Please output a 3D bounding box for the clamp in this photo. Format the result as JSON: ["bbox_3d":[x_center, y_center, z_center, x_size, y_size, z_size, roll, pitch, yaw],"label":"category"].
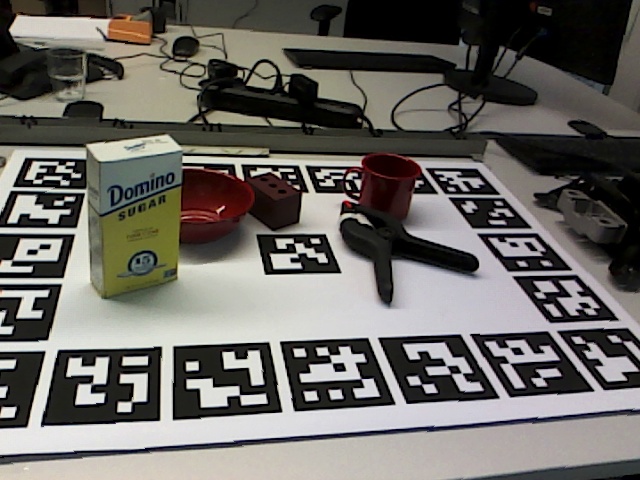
[{"bbox_3d":[0.085,-0.003,0.864,0.164,0.036,0.204,-18,42,-31],"label":"clamp"}]

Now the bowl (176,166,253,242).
[{"bbox_3d":[-0.177,-0.044,0.864,0.161,0.055,0.162,6,33,-5],"label":"bowl"}]

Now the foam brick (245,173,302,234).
[{"bbox_3d":[-0.070,-0.055,0.918,0.052,0.051,0.078,-20,43,-35],"label":"foam brick"}]

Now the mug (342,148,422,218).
[{"bbox_3d":[0.092,-0.090,0.965,0.117,0.081,0.093,16,33,6],"label":"mug"}]

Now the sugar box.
[{"bbox_3d":[-0.213,-0.019,0.707,0.092,0.176,0.045,-16,42,-35],"label":"sugar box"}]
